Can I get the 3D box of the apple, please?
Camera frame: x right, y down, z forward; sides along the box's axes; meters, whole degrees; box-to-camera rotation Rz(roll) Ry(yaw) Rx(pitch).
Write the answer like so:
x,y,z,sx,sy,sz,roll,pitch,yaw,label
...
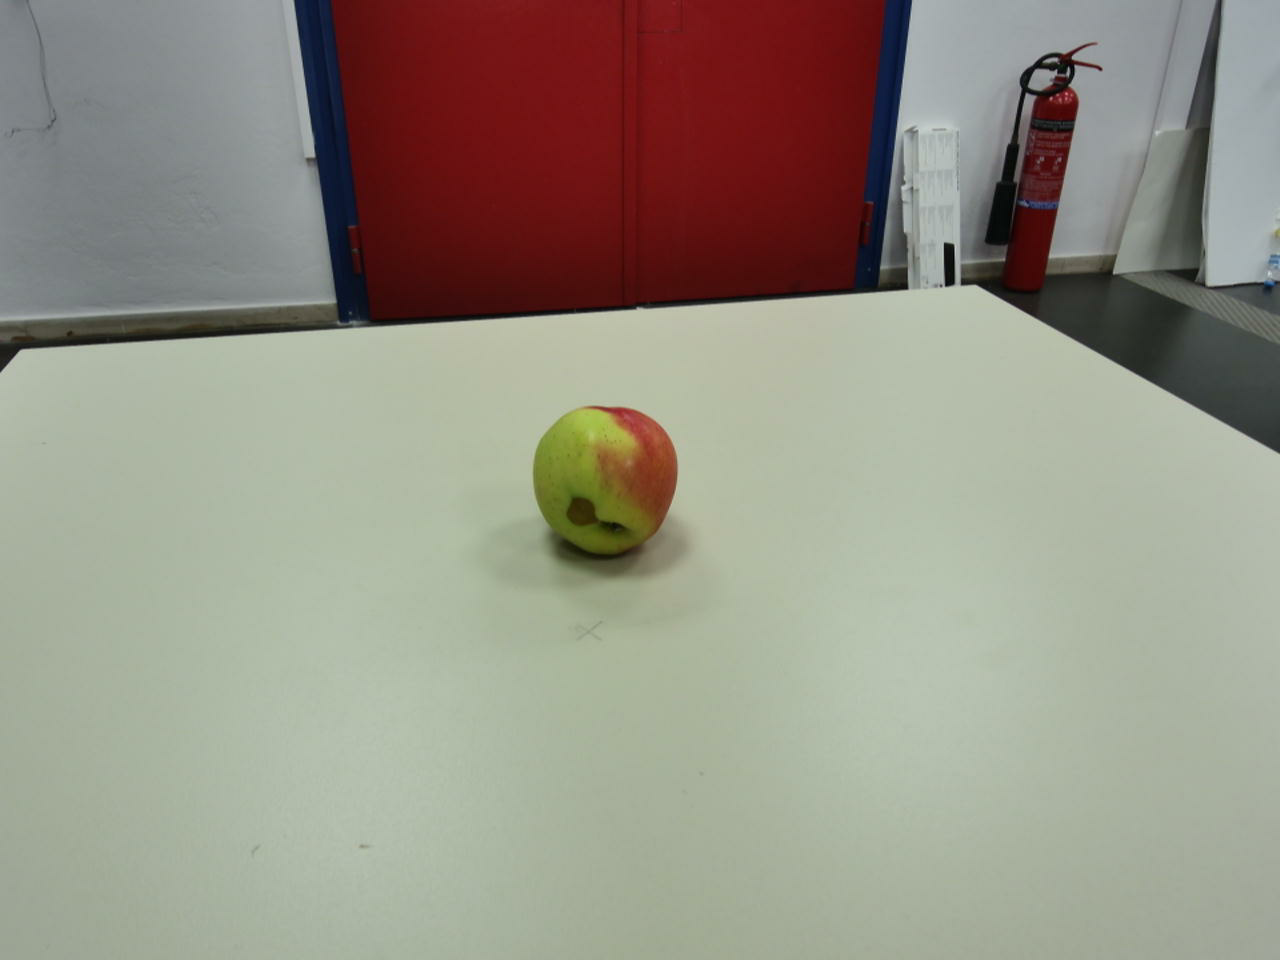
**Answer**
x,y,z,sx,sy,sz,roll,pitch,yaw,label
-0.016,-0.001,0.509,0.075,0.074,0.075,-14,30,-29,apple
